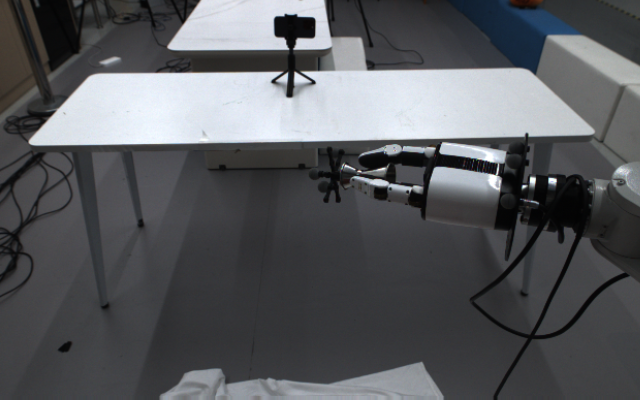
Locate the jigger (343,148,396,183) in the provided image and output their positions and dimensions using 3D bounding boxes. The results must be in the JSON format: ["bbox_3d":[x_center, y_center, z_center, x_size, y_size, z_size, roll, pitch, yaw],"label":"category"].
[{"bbox_3d":[0.073,-0.038,0.670,0.071,0.043,0.043,3,32,26],"label":"jigger"}]
